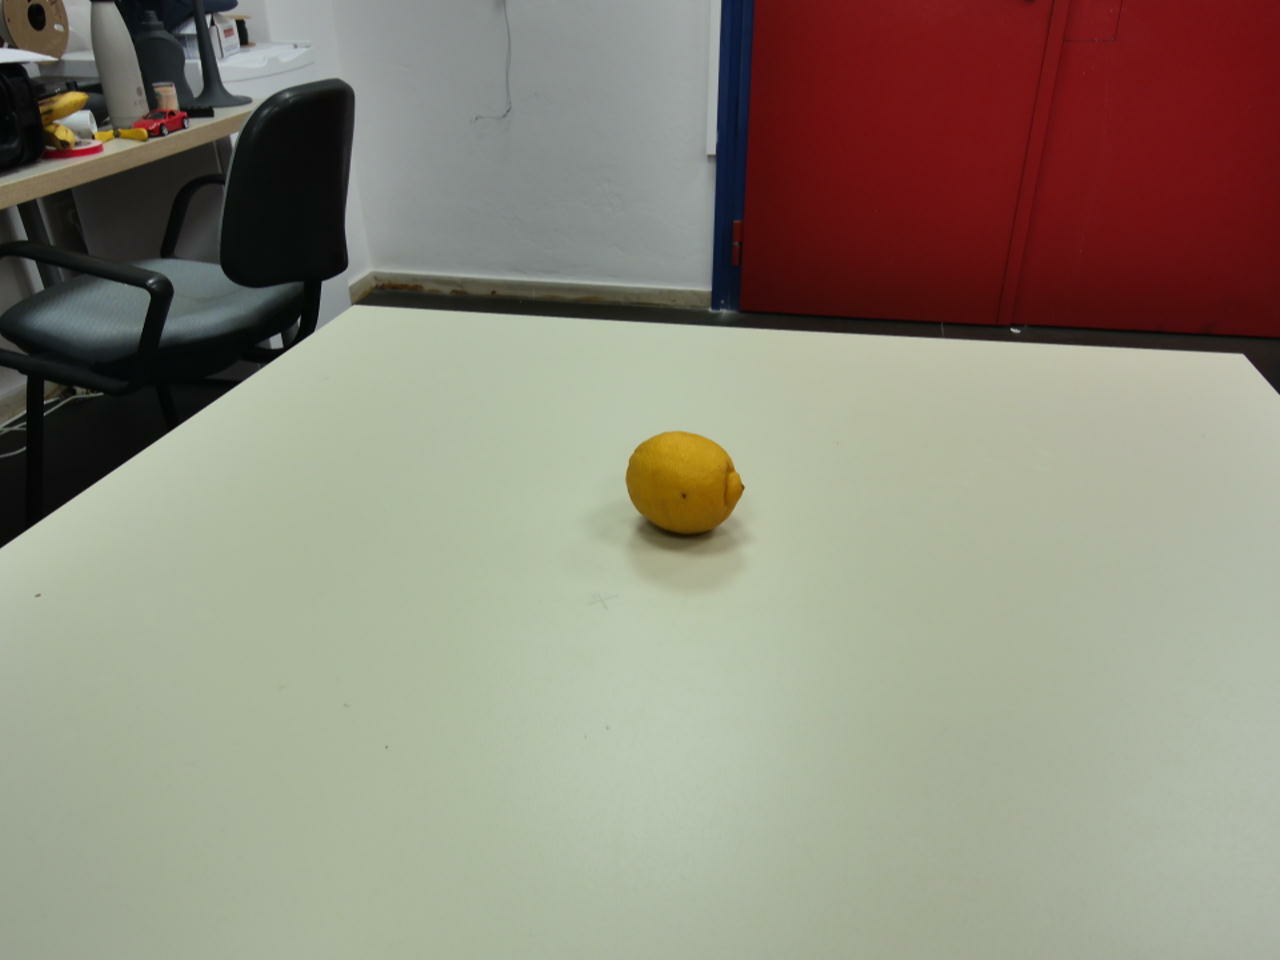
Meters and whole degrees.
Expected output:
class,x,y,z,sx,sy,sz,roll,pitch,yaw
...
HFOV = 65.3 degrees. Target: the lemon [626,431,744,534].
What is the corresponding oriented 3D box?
class,x,y,z,sx,sy,sz,roll,pitch,yaw
lemon,0.025,0.002,0.594,0.060,0.059,0.067,-17,31,-32
